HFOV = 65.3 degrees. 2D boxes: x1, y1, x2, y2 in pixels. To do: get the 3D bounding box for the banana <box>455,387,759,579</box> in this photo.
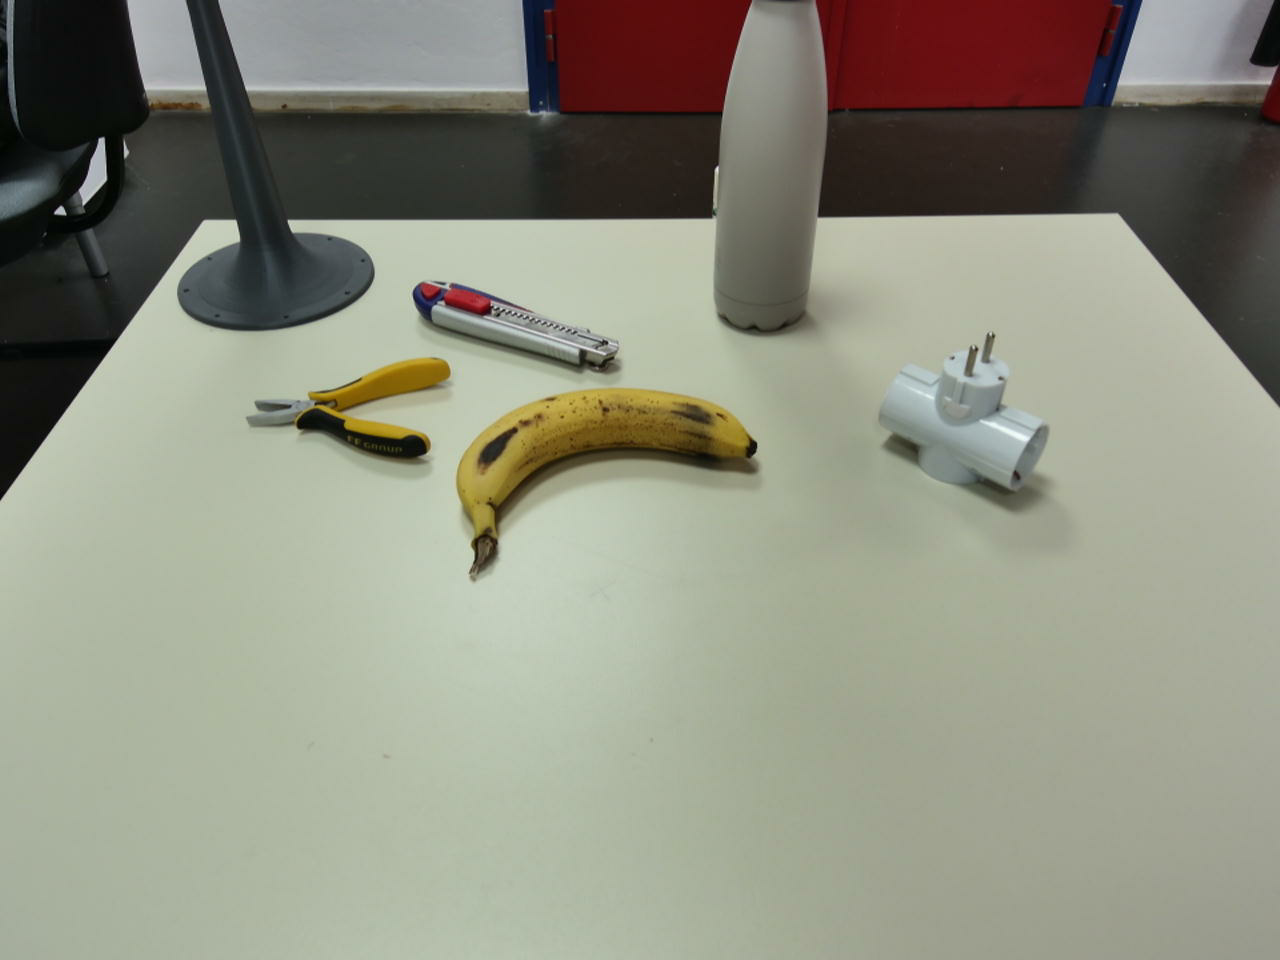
[{"bbox_3d":[-0.030,-0.018,0.605,0.186,0.038,0.097,-19,43,-21],"label":"banana"}]
